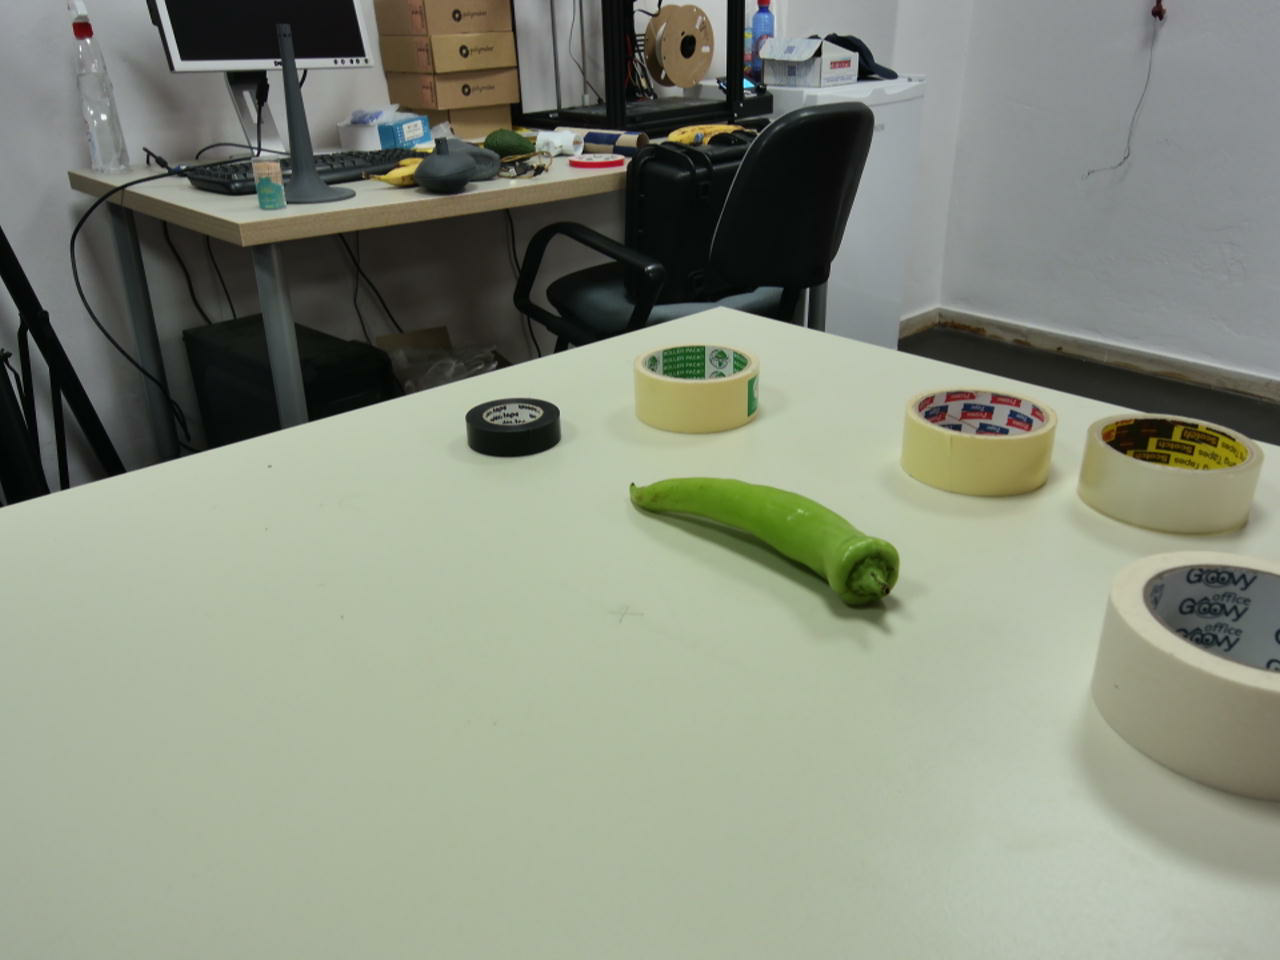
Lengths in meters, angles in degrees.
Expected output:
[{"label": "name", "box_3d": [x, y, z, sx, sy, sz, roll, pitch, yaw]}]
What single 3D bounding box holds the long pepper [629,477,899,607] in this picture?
[{"label": "long pepper", "box_3d": [0.065, 0.021, 0.547, 0.046, 0.038, 0.197, -18, 29, -35]}]
